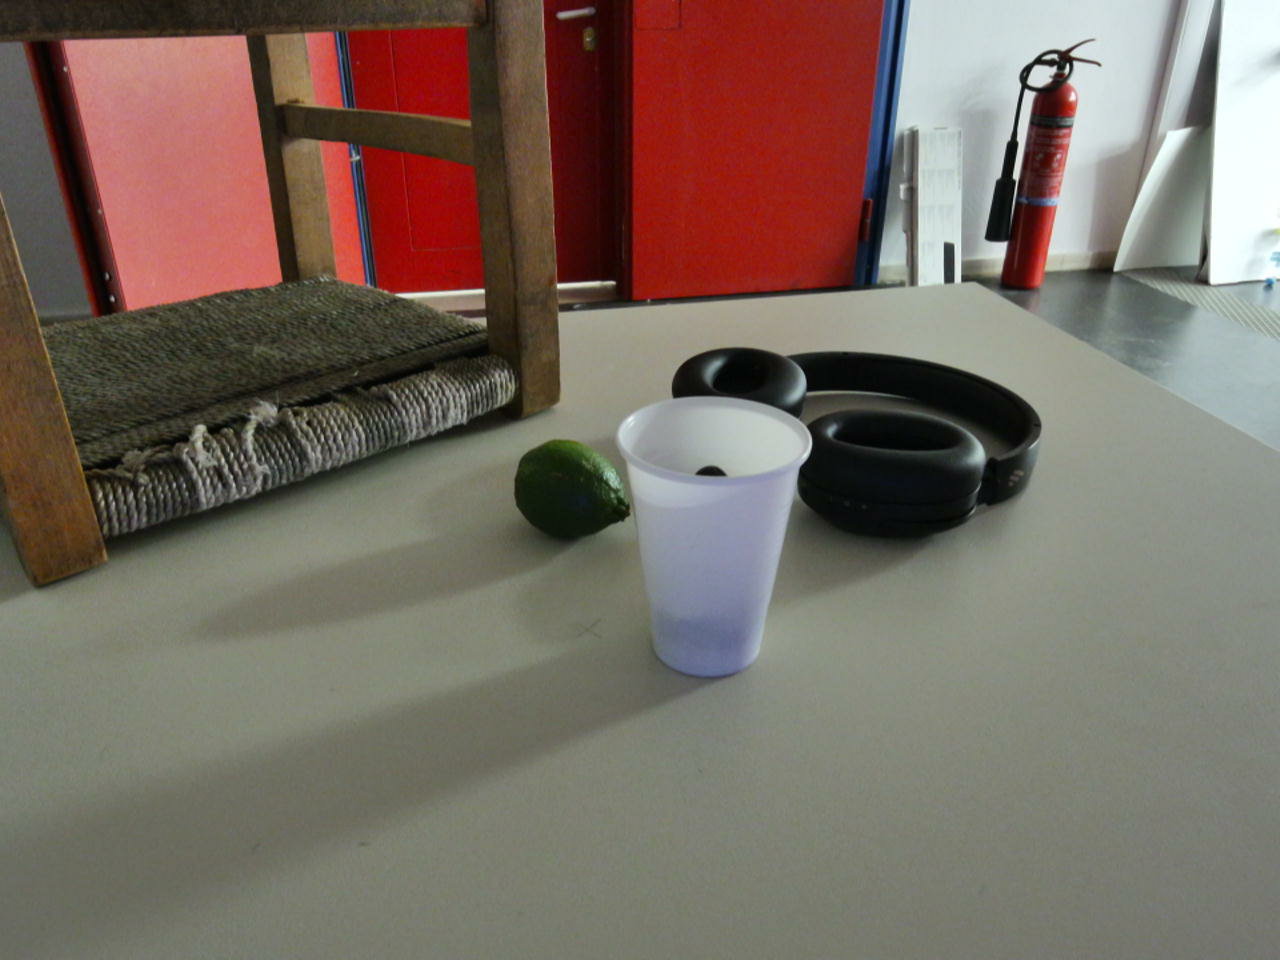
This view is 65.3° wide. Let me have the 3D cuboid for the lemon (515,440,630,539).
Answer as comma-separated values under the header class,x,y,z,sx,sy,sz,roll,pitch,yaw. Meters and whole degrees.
class,x,y,z,sx,sy,sz,roll,pitch,yaw
lemon,-0.038,0.004,0.525,0.057,0.051,0.054,-8,27,-15
